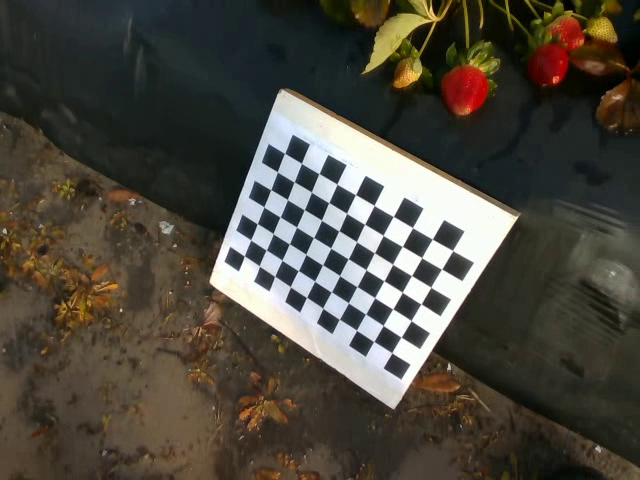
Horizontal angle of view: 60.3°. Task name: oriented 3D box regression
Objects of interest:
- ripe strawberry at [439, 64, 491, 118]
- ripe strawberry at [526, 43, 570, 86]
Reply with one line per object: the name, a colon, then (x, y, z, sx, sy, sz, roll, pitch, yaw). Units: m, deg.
ripe strawberry: (0.143, -0.148, 0.547, 0.050, 0.065, 0.049, -9, -45, 30)
ripe strawberry: (0.226, -0.170, 0.546, 0.042, 0.055, 0.045, 34, -54, -31)
